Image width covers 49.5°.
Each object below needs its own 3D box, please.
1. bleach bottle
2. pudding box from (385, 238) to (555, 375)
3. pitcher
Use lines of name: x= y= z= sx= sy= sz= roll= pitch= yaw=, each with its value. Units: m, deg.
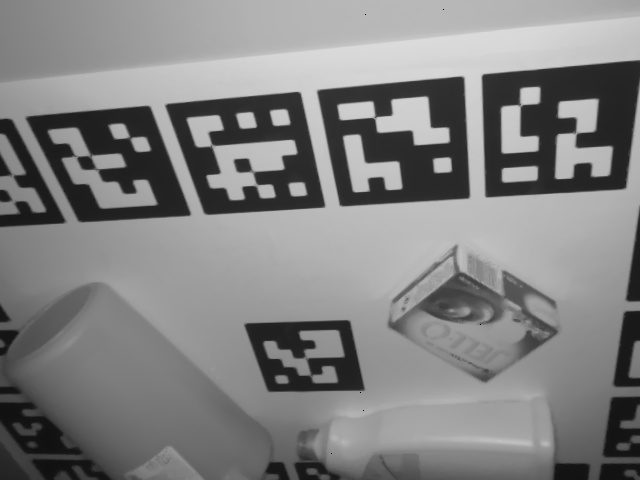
bleach bottle: x=0.105 y=0.206 z=0.697 sx=0.249 sy=0.069 sz=0.102 roll=-7 pitch=121 yaw=15
pudding box: x=0.127 y=0.059 z=0.592 sx=0.114 sy=0.039 sz=0.088 roll=32 pitch=130 yaw=-14
pitcher: x=-0.172 y=0.154 z=0.675 sx=0.186 sy=0.135 sz=0.243 roll=-3 pitch=130 yaw=55
